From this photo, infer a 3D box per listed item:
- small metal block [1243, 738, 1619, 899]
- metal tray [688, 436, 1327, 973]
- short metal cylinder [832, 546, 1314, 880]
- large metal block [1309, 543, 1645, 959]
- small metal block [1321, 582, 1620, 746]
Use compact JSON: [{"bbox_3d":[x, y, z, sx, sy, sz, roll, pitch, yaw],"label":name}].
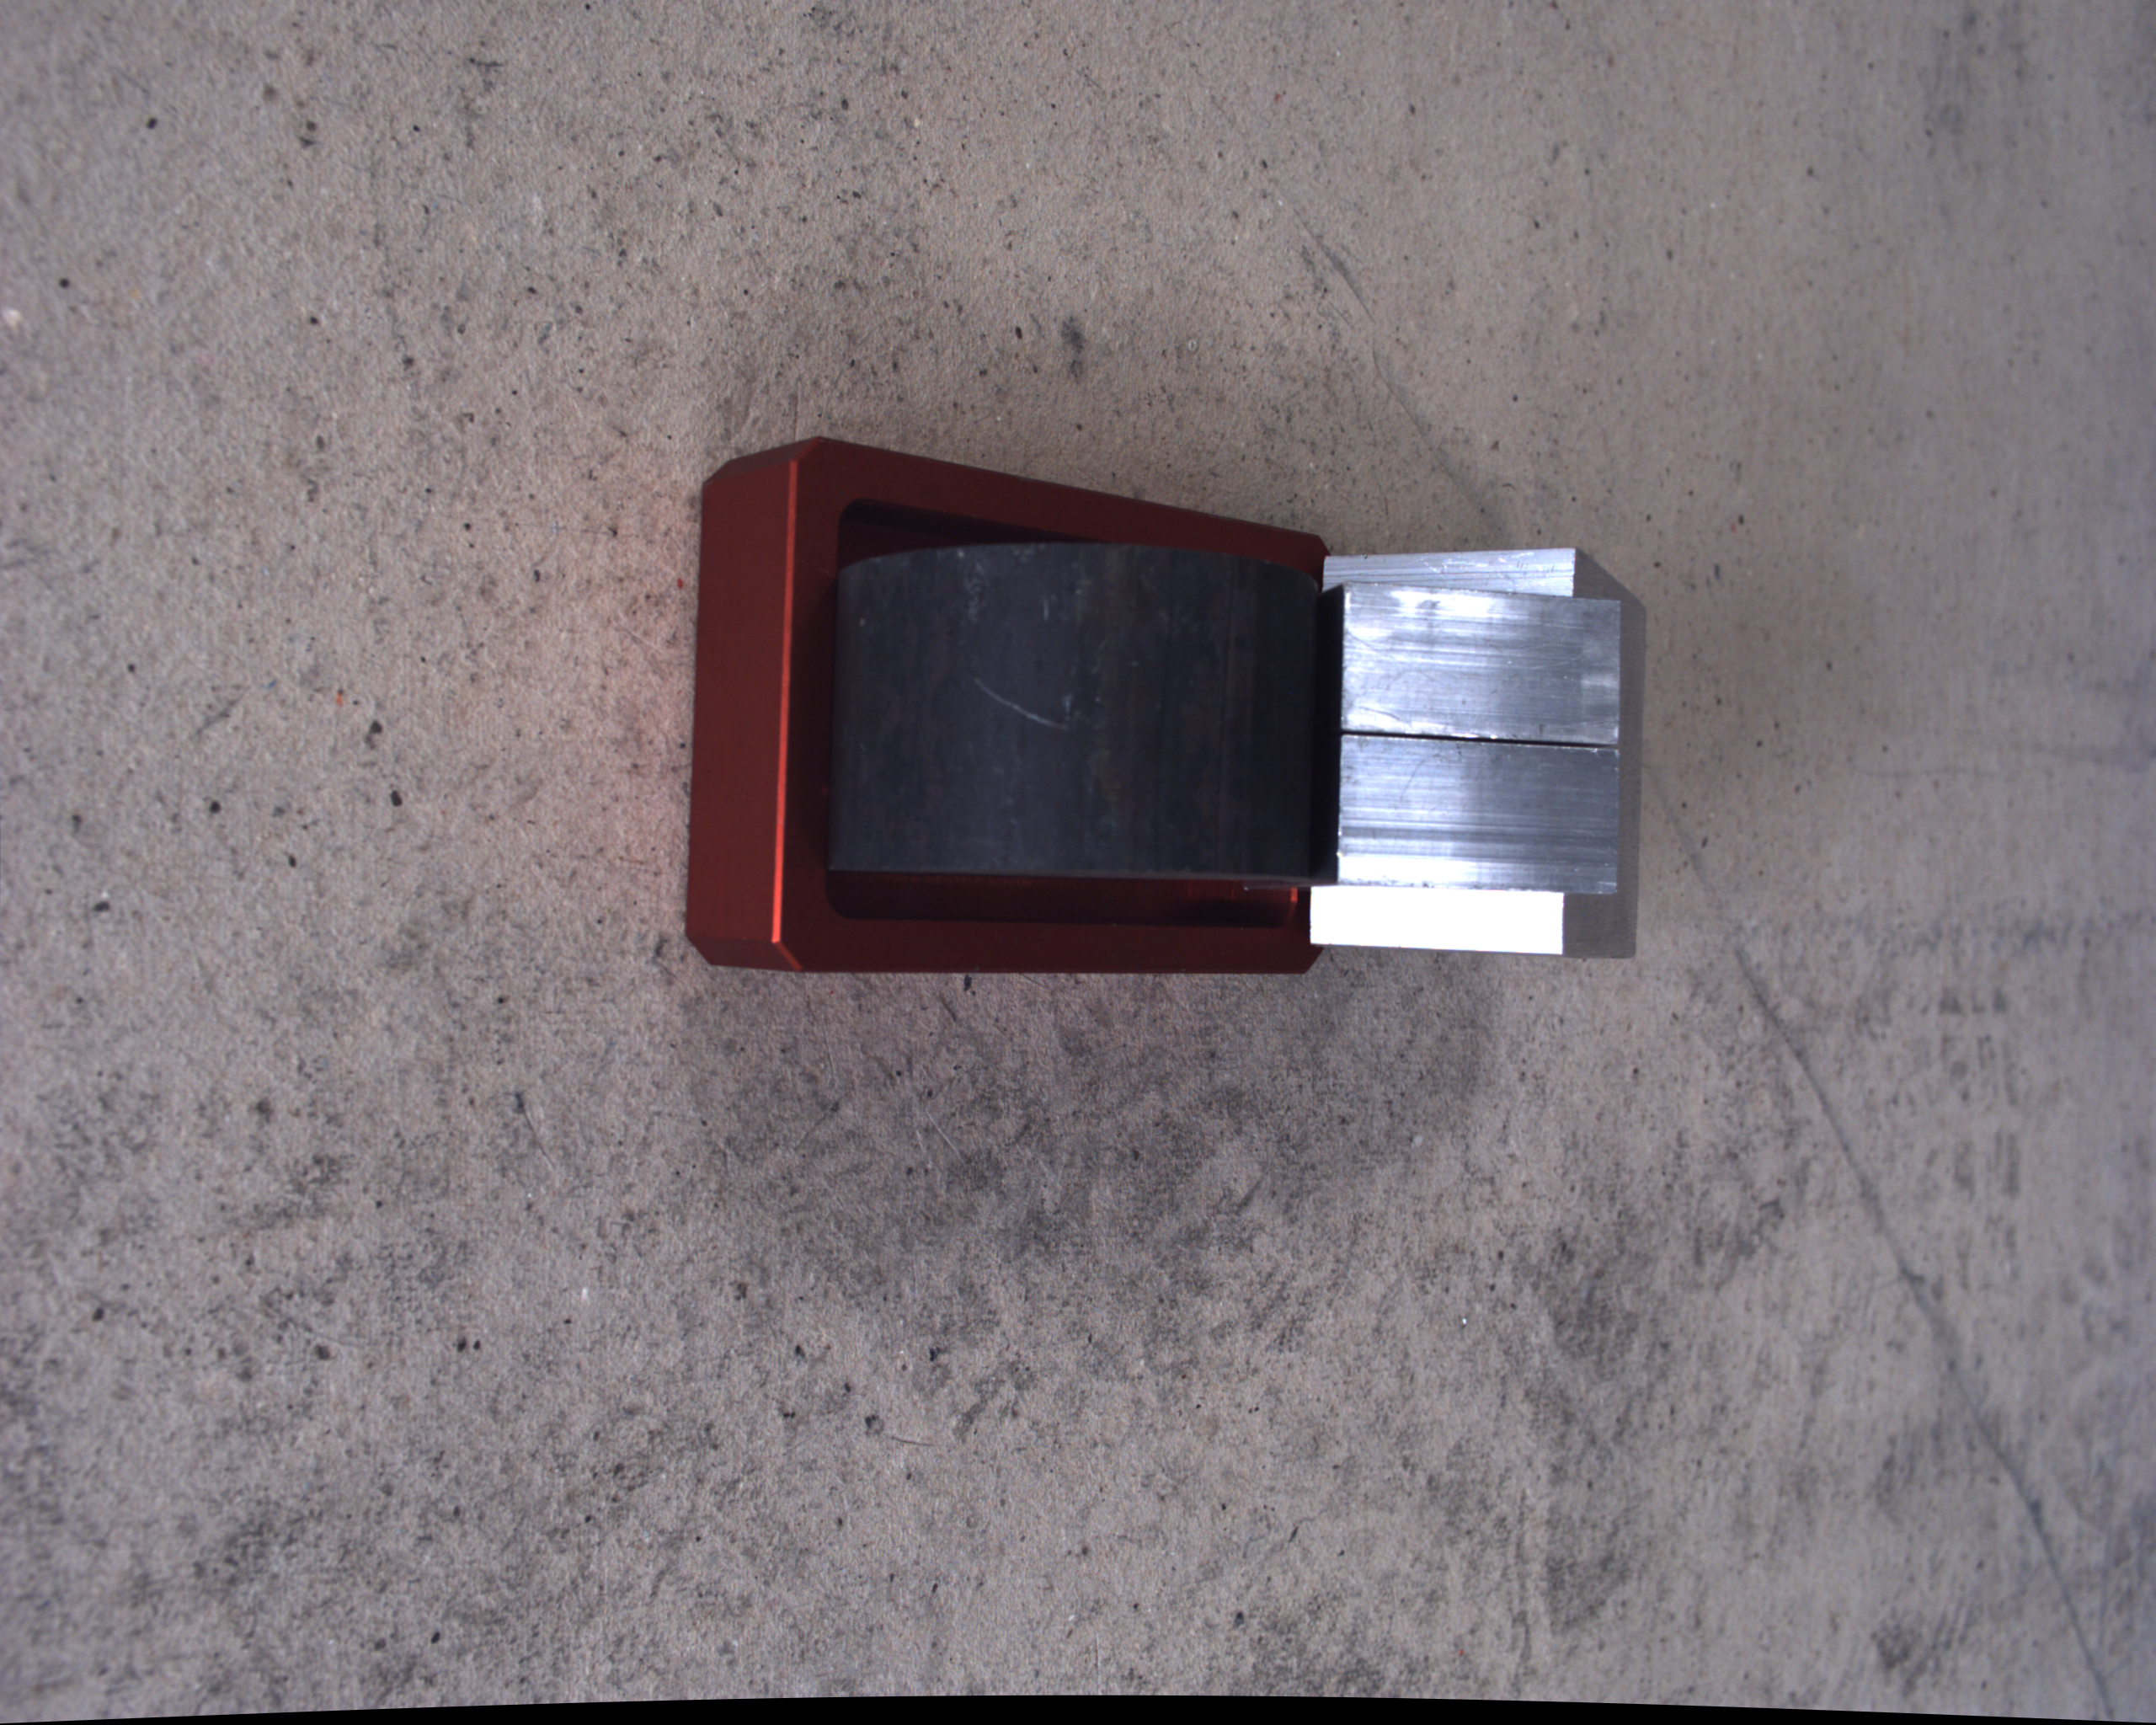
[{"bbox_3d":[0.062,-0.007,0.373,0.050,0.050,0.025,2,88,-14],"label":"small metal block"},{"bbox_3d":[-0.008,-0.024,0.396,0.131,0.030,0.089,3,88,-40],"label":"metal tray"},{"bbox_3d":[-0.001,-0.022,0.353,0.081,0.080,0.050,1,90,-40],"label":"short metal cylinder"},{"bbox_3d":[0.087,-0.020,0.444,0.080,0.050,0.080,7,86,-66],"label":"large metal block"},{"bbox_3d":[0.062,-0.032,0.374,0.050,0.050,0.025,2,88,-14],"label":"small metal block"}]
